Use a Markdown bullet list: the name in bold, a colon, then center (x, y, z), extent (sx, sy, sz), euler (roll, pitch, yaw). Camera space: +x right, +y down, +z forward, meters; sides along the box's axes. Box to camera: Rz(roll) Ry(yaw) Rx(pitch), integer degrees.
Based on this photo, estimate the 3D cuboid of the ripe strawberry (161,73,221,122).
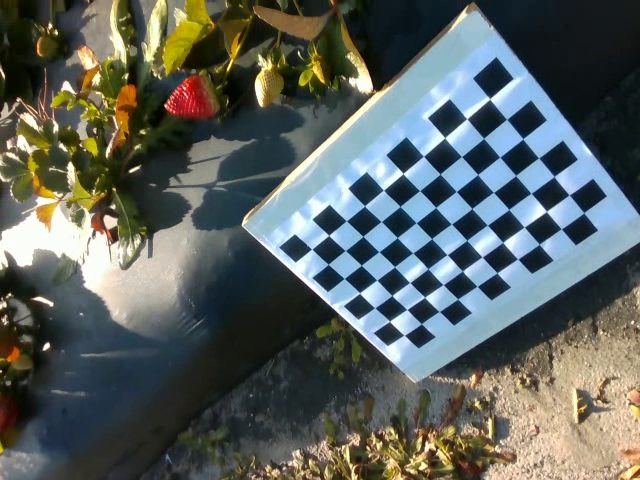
- **ripe strawberry**: center (-0.108, -0.119, 0.473), extent (0.053, 0.044, 0.036), euler (-16, 26, 5)
